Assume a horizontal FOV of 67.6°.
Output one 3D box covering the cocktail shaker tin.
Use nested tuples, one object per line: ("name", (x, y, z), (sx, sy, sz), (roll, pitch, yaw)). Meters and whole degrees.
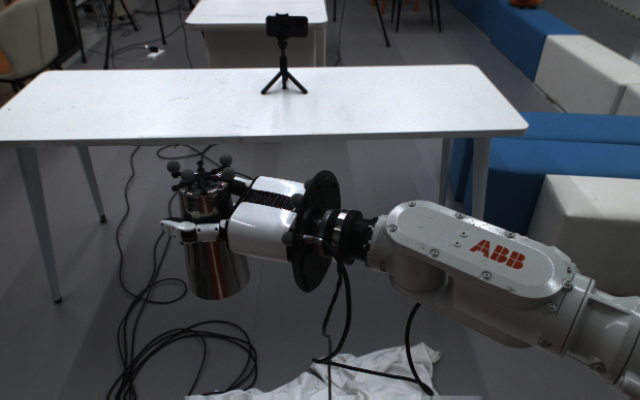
("cocktail shaker tin", (-0.151, 0.046, 0.692), (0.093, 0.170, 0.093), (-1, 33, 1))
